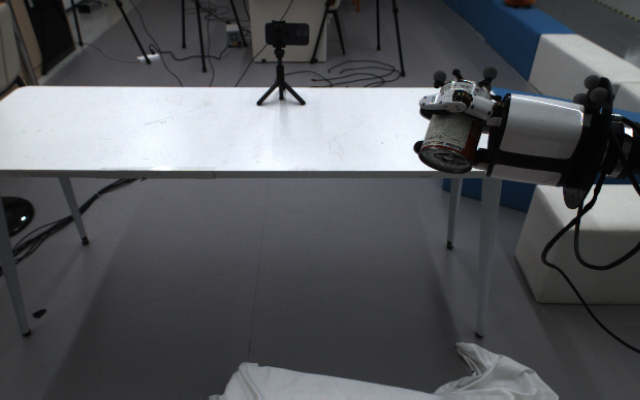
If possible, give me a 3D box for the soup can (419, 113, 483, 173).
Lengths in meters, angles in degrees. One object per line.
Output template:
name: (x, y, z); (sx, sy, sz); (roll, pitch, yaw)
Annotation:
soup can: (0.175, -0.095, 0.622); (0.067, 0.067, 0.101); (15, 74, 18)
